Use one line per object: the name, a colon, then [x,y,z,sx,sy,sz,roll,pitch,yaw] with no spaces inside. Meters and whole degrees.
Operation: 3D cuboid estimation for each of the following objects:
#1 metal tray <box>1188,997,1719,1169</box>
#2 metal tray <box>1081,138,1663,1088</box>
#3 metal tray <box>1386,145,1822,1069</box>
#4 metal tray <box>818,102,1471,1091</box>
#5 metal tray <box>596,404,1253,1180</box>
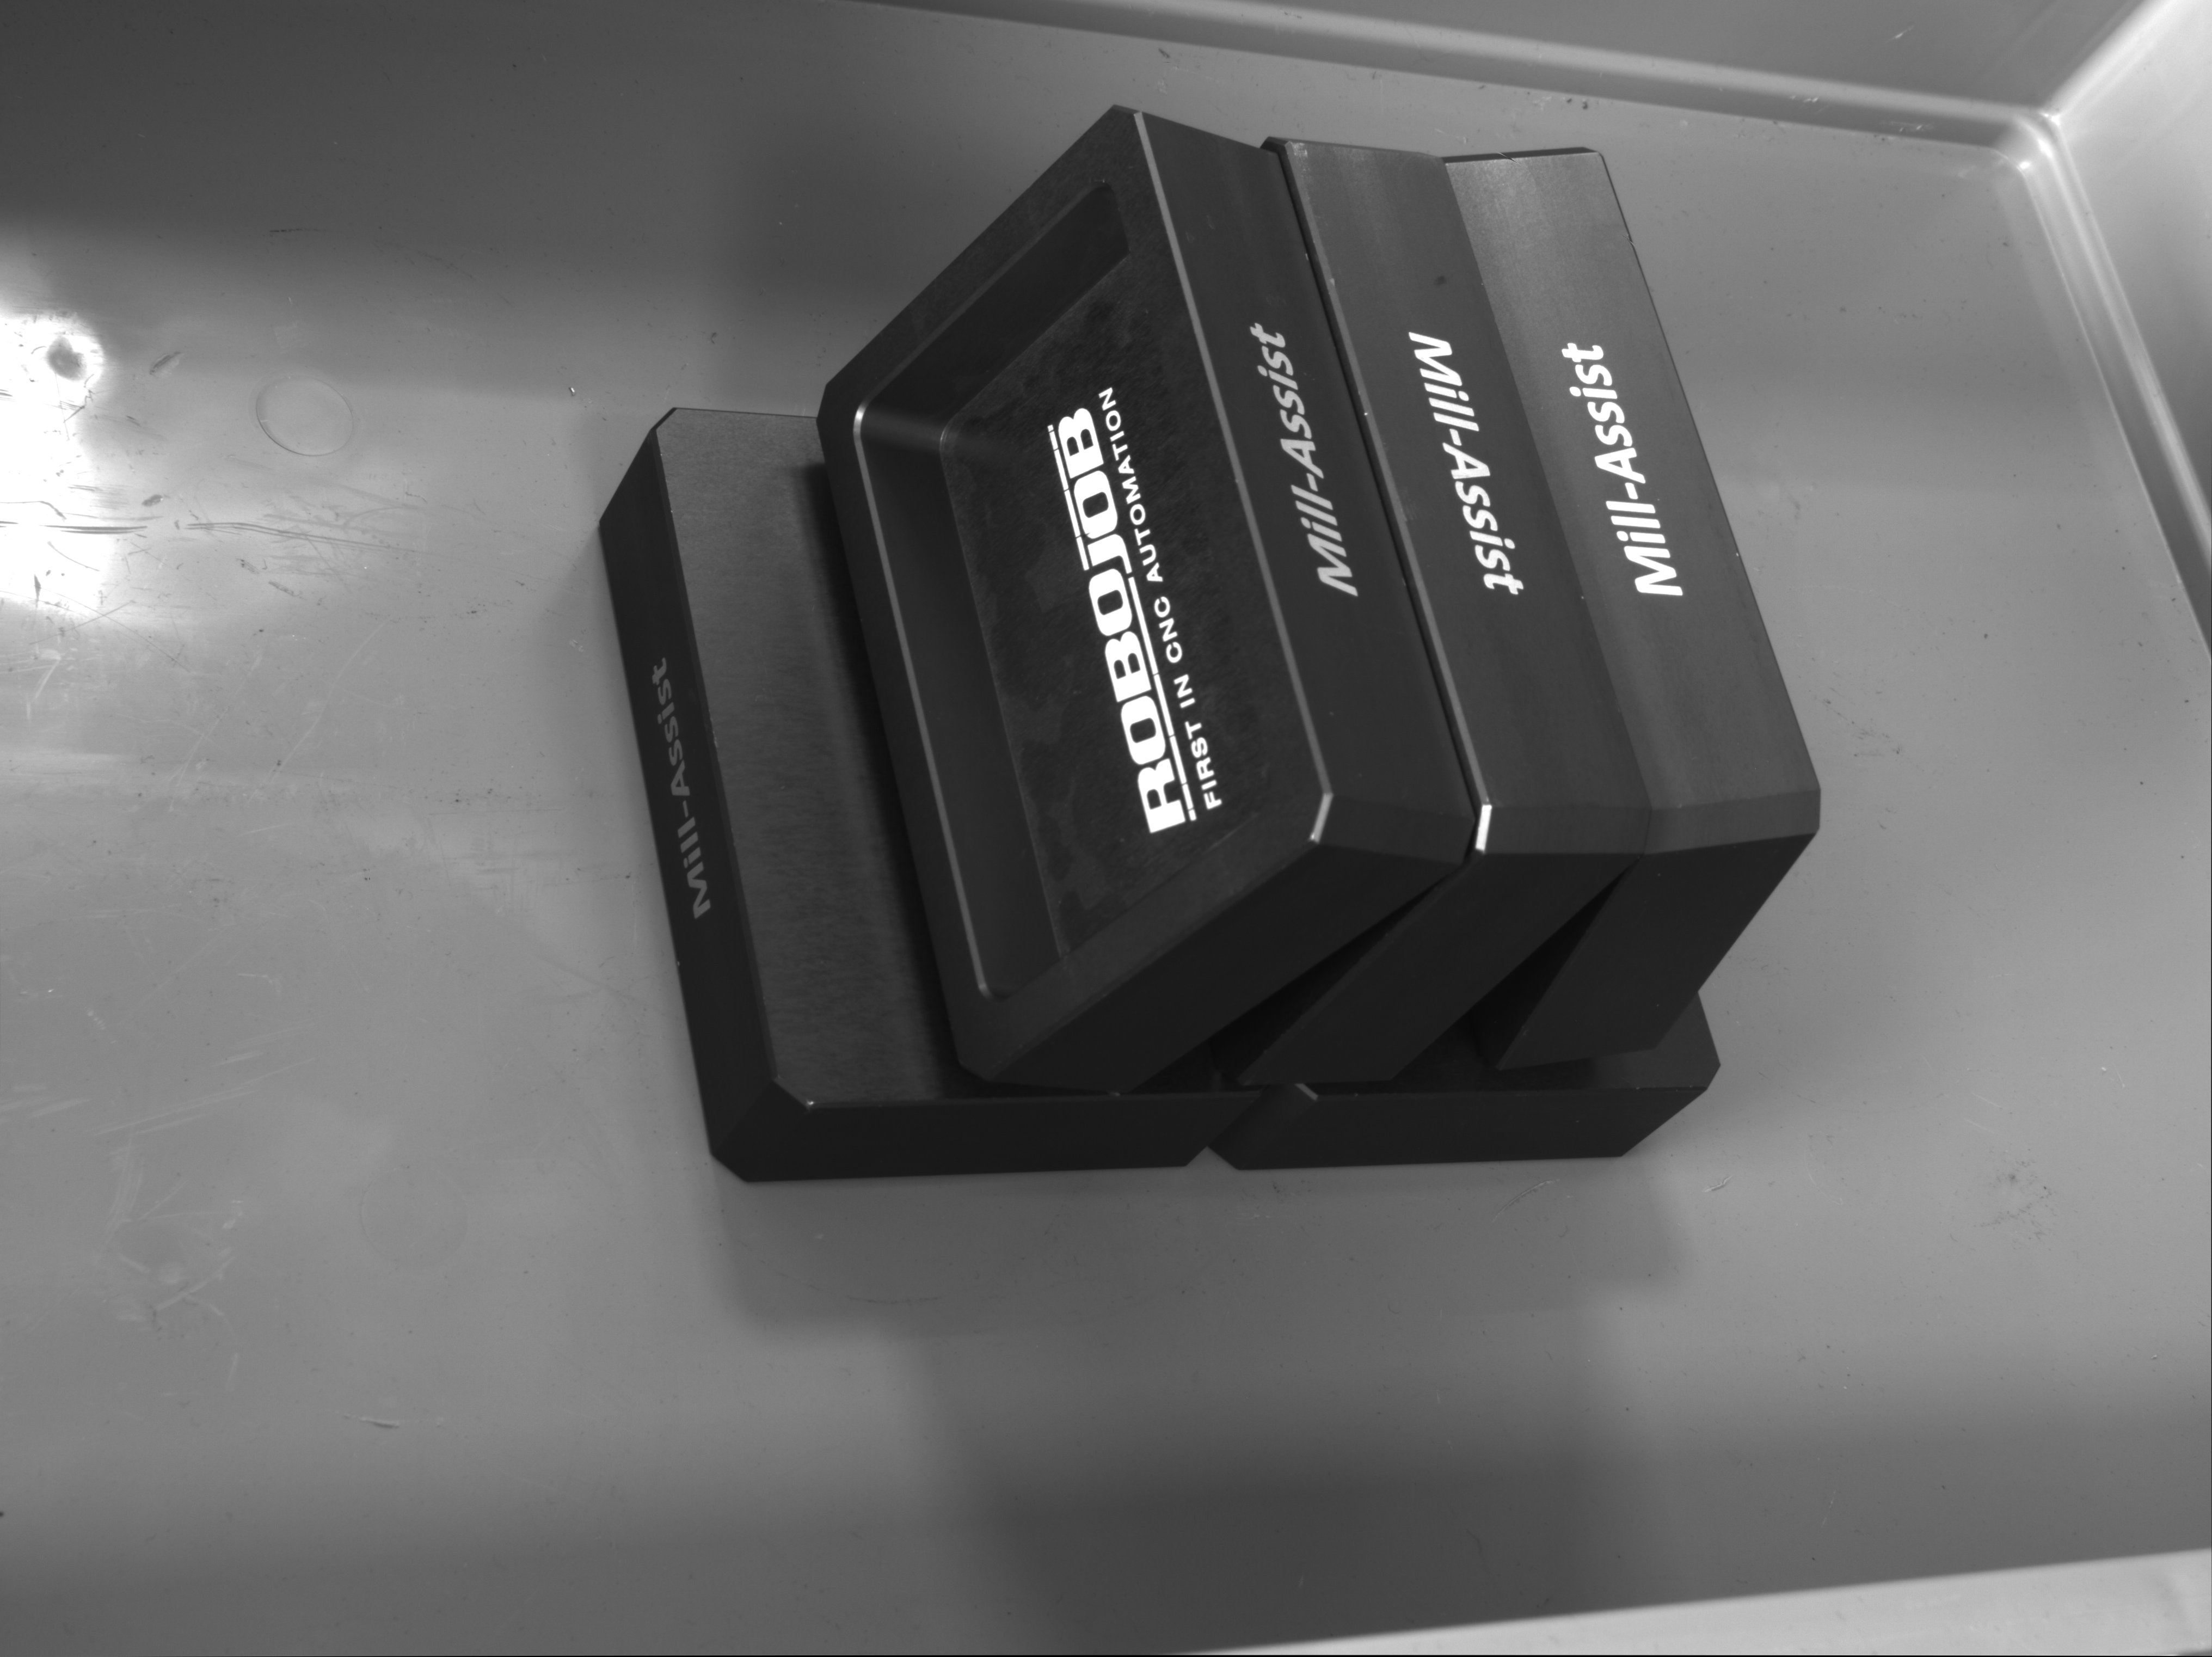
metal tray: [0.050,-0.005,0.664,0.090,0.030,0.130,1,61,-28]
metal tray: [0.038,-0.034,0.596,0.030,0.090,0.130,0,60,-28]
metal tray: [0.073,-0.037,0.615,0.030,0.090,0.130,-7,64,-15]
metal tray: [0.002,-0.035,0.576,0.030,0.090,0.130,8,57,-39]
metal tray: [-0.030,-0.007,0.621,0.090,0.030,0.130,1,61,-28]
